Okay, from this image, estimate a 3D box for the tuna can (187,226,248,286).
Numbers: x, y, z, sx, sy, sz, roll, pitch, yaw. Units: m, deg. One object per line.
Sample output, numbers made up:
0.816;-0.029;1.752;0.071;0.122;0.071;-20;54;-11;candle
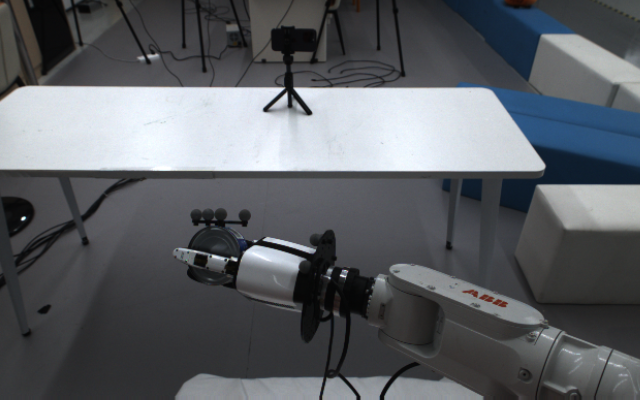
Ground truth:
-0.147;0.081;0.705;0.085;0.085;0.034;15;0;18;tuna can
